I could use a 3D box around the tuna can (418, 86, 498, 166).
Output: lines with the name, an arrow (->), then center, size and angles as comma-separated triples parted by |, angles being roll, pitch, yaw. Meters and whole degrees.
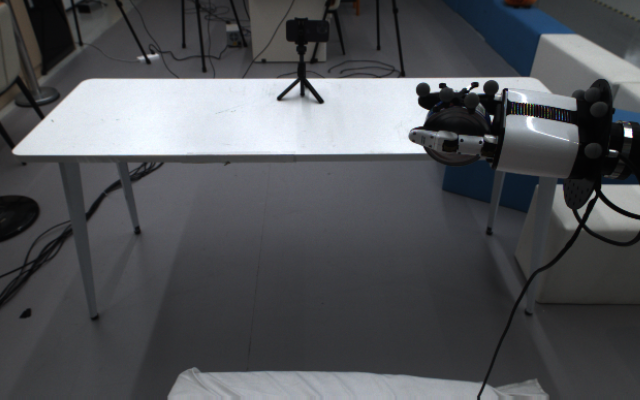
tuna can -> 0.177, -0.090, 0.624 | 0.085, 0.085, 0.034 | 12, 39, 13
